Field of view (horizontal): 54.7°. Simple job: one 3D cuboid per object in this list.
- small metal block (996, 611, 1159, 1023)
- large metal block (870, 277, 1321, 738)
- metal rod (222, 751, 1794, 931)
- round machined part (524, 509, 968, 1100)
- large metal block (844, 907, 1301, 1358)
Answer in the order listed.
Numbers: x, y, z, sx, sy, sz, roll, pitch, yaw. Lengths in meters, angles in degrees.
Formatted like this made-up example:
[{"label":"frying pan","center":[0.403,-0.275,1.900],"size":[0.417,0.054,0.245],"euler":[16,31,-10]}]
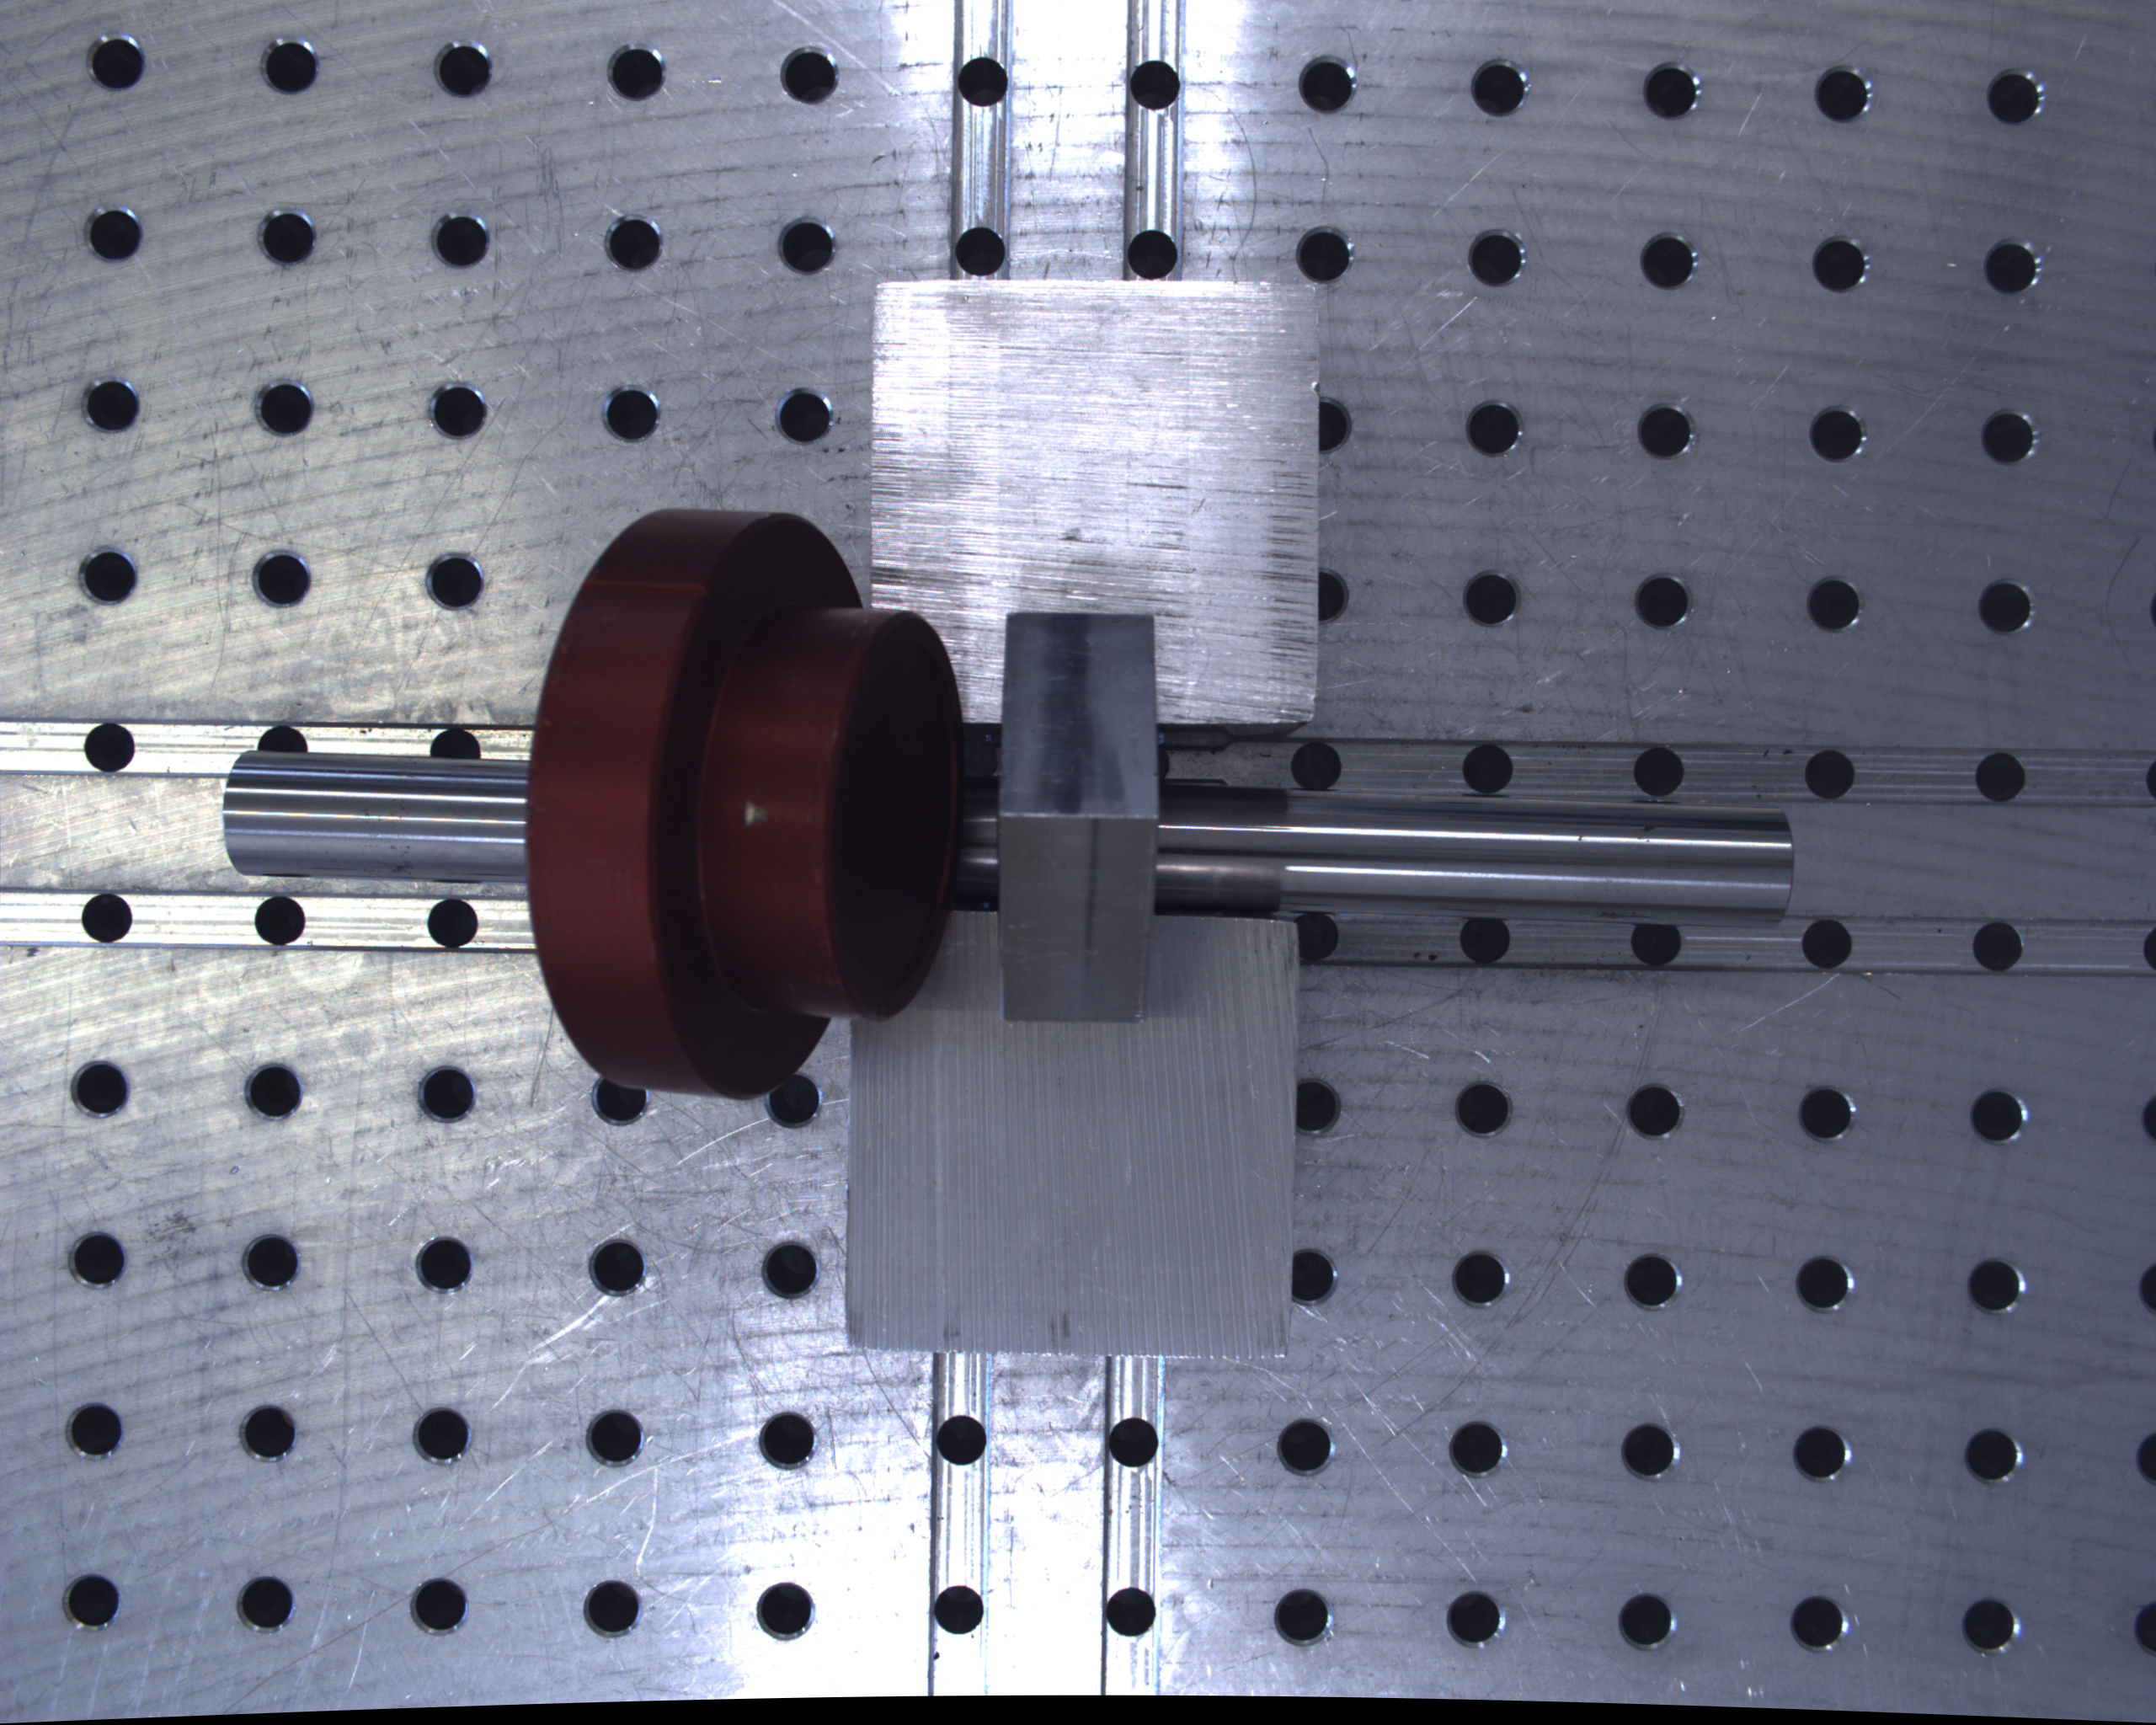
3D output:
[{"label":"small metal block","center":[0.000,-0.008,0.357],"size":[0.025,0.050,0.050],"euler":[1,46,0]},{"label":"large metal block","center":[0.003,-0.065,0.401],"size":[0.081,0.050,0.079],"euler":[1,90,0]},{"label":"metal rod","center":[-0.013,-0.004,0.413],"size":[0.302,0.025,0.025],"euler":[2,90,0]},{"label":"round machined part","center":[-0.049,-0.009,0.347],"size":[0.042,0.098,0.097],"euler":[4,90,14]},{"label":"large metal block","center":[-0.001,0.049,0.401],"size":[0.081,0.050,0.079],"euler":[1,90,0]}]
